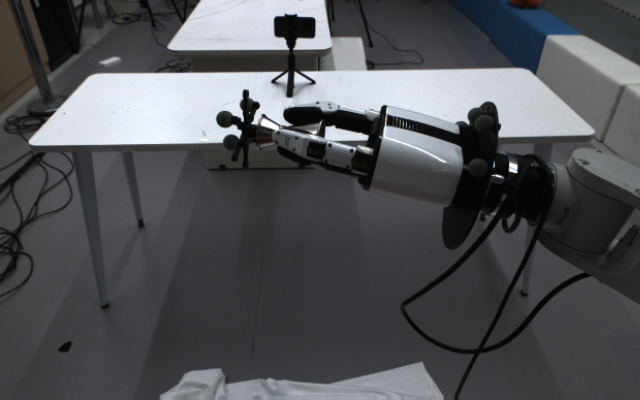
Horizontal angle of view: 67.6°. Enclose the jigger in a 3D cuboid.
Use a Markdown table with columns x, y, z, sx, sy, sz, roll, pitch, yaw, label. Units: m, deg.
| x | y | z | sx | sy | sz | roll | pitch | yaw | label |
| --- | --- | --- | --- | --- | --- | --- | --- | --- | --- |
| -0.026 | -0.076 | 0.532 | 0.071 | 0.043 | 0.043 | 6 | 35 | 7 | jigger |
